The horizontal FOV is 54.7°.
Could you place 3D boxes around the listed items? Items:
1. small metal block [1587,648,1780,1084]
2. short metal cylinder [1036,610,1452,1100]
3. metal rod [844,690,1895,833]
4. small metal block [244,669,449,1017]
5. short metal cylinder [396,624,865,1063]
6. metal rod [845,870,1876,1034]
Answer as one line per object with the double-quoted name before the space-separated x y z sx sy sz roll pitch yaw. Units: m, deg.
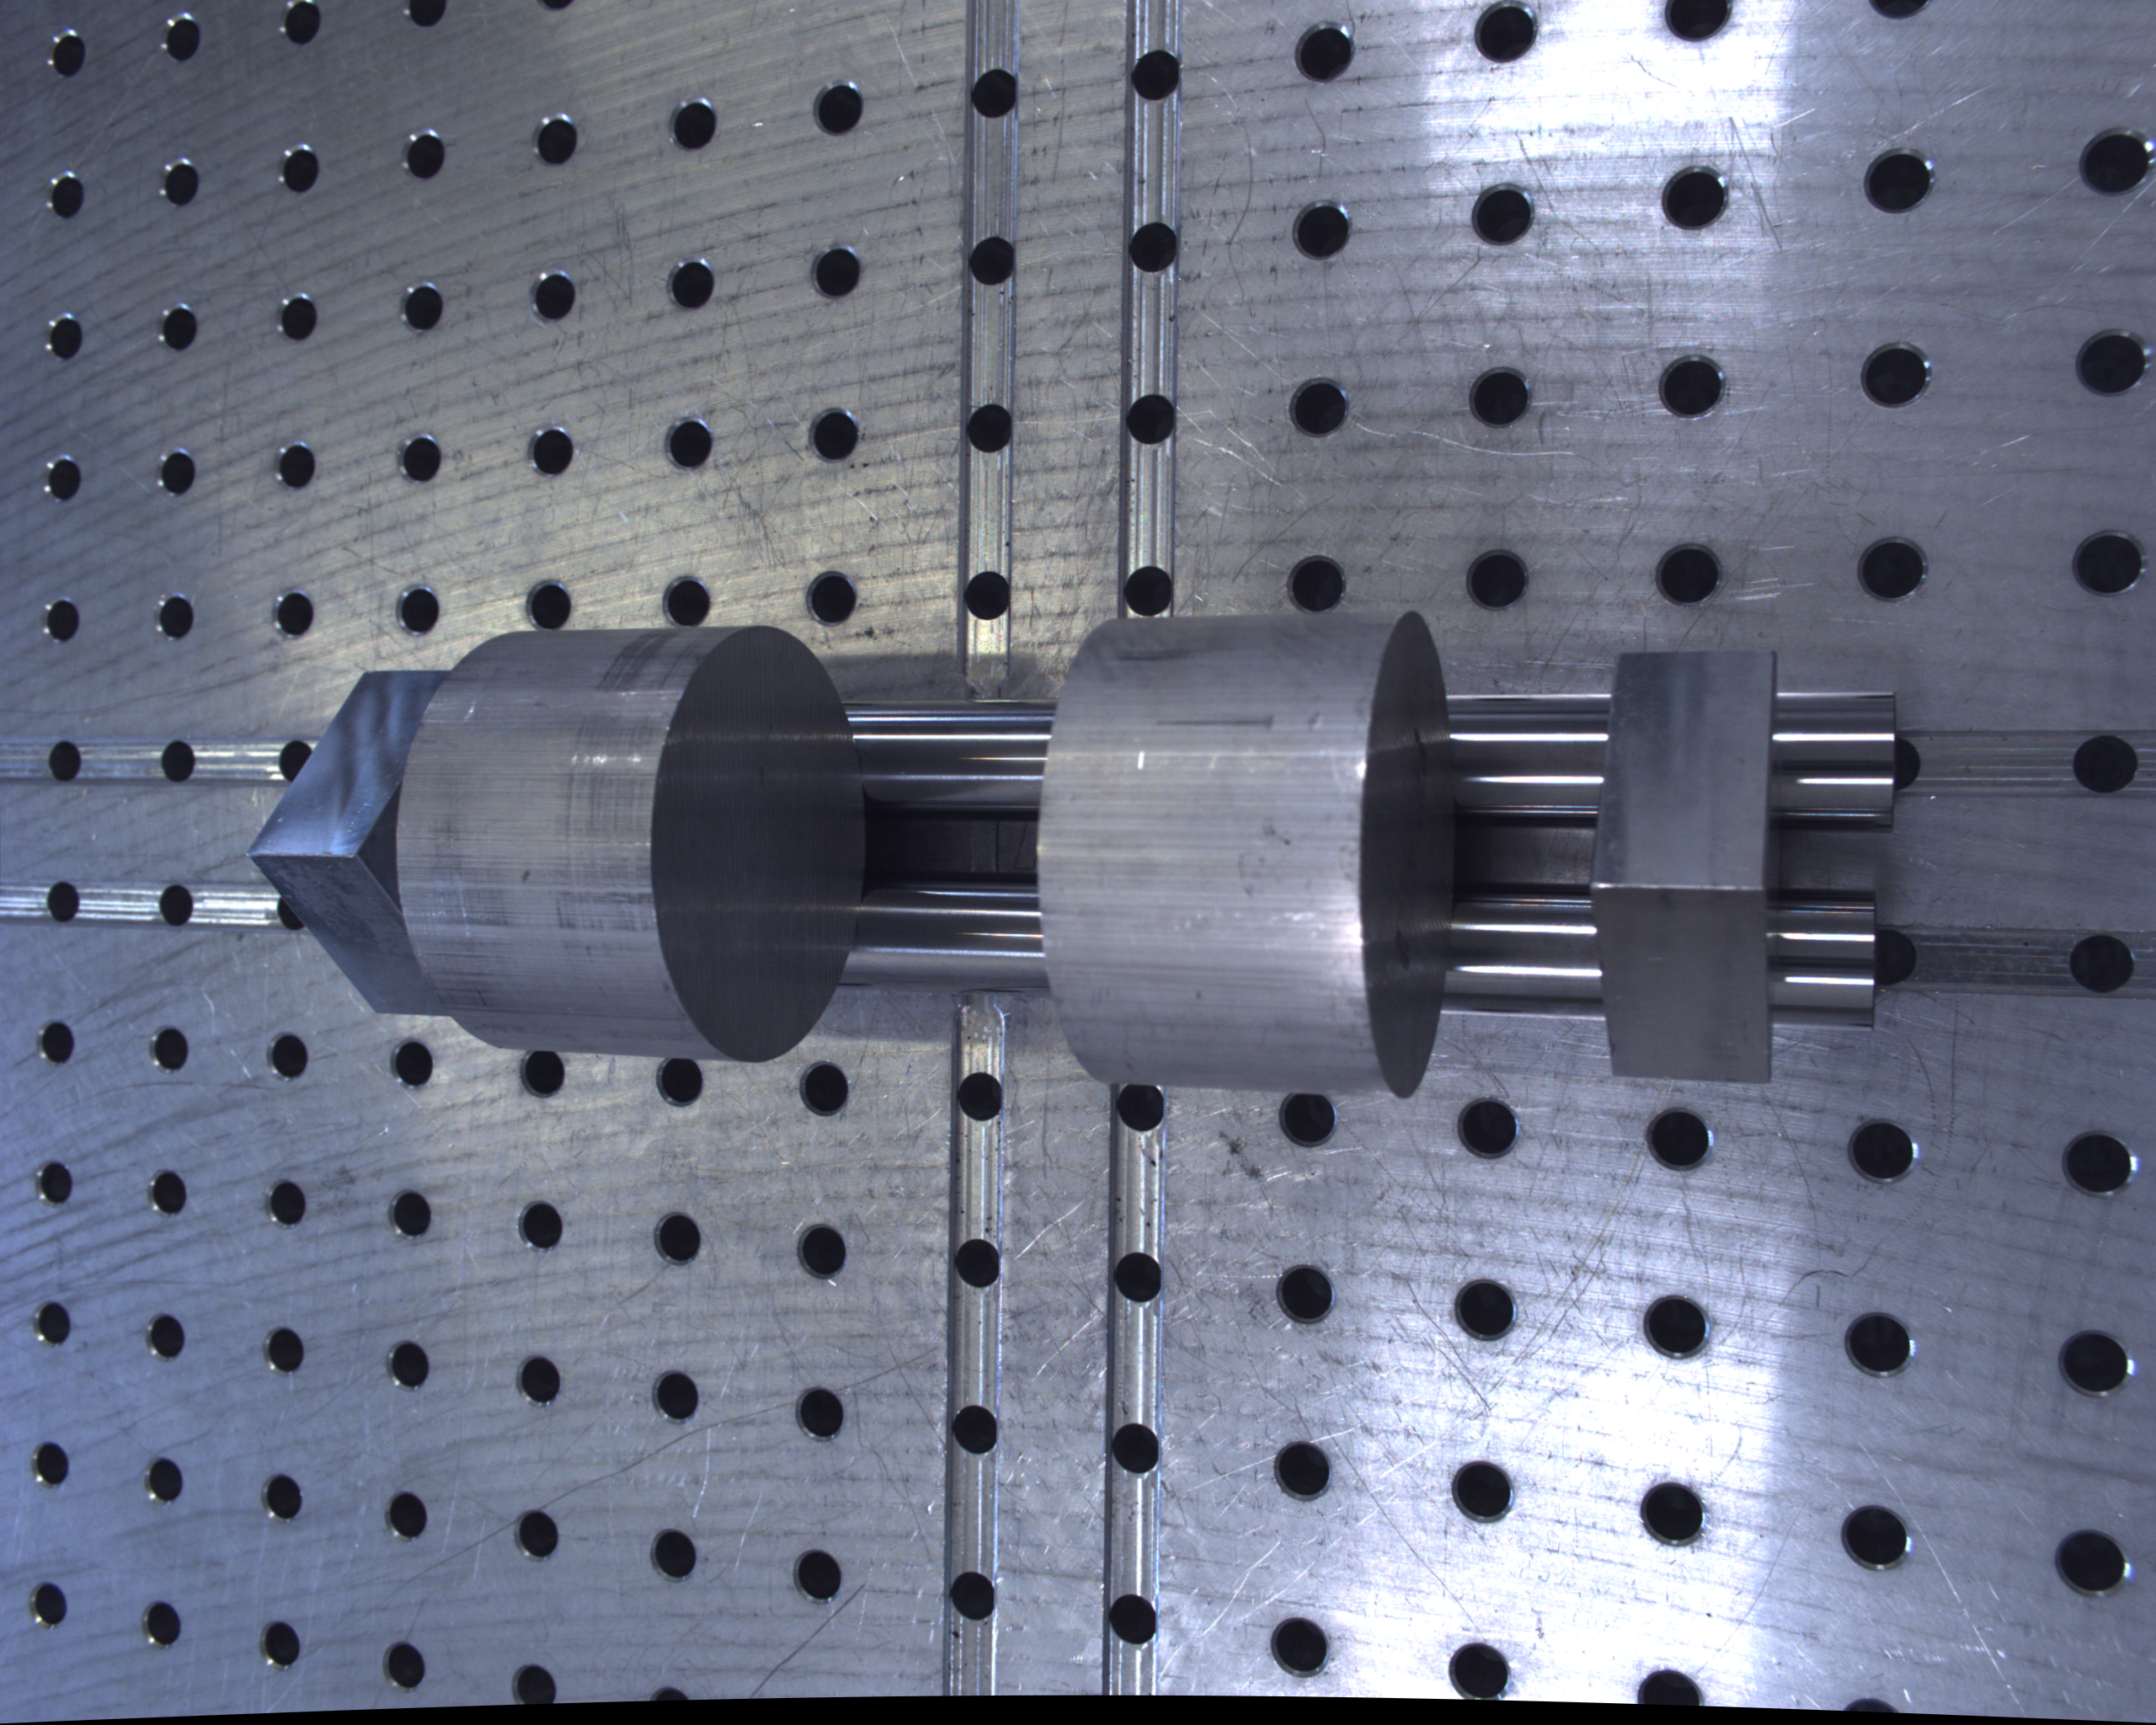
"small metal block" 0.100 0.001 0.340 0.025 0.050 0.050 1 49 20
"short metal cylinder" 0.031 -0.002 0.349 0.050 0.080 0.079 1 90 20
"metal rod" 0.000 -0.020 0.413 0.301 0.025 0.025 1 91 19
"small metal block" -0.133 -0.004 0.422 0.025 0.050 0.050 1 48 20
"short metal cylinder" -0.080 -0.004 0.388 0.050 0.080 0.079 1 90 20
"metal rod" -0.003 0.015 0.414 0.301 0.025 0.025 1 91 19
